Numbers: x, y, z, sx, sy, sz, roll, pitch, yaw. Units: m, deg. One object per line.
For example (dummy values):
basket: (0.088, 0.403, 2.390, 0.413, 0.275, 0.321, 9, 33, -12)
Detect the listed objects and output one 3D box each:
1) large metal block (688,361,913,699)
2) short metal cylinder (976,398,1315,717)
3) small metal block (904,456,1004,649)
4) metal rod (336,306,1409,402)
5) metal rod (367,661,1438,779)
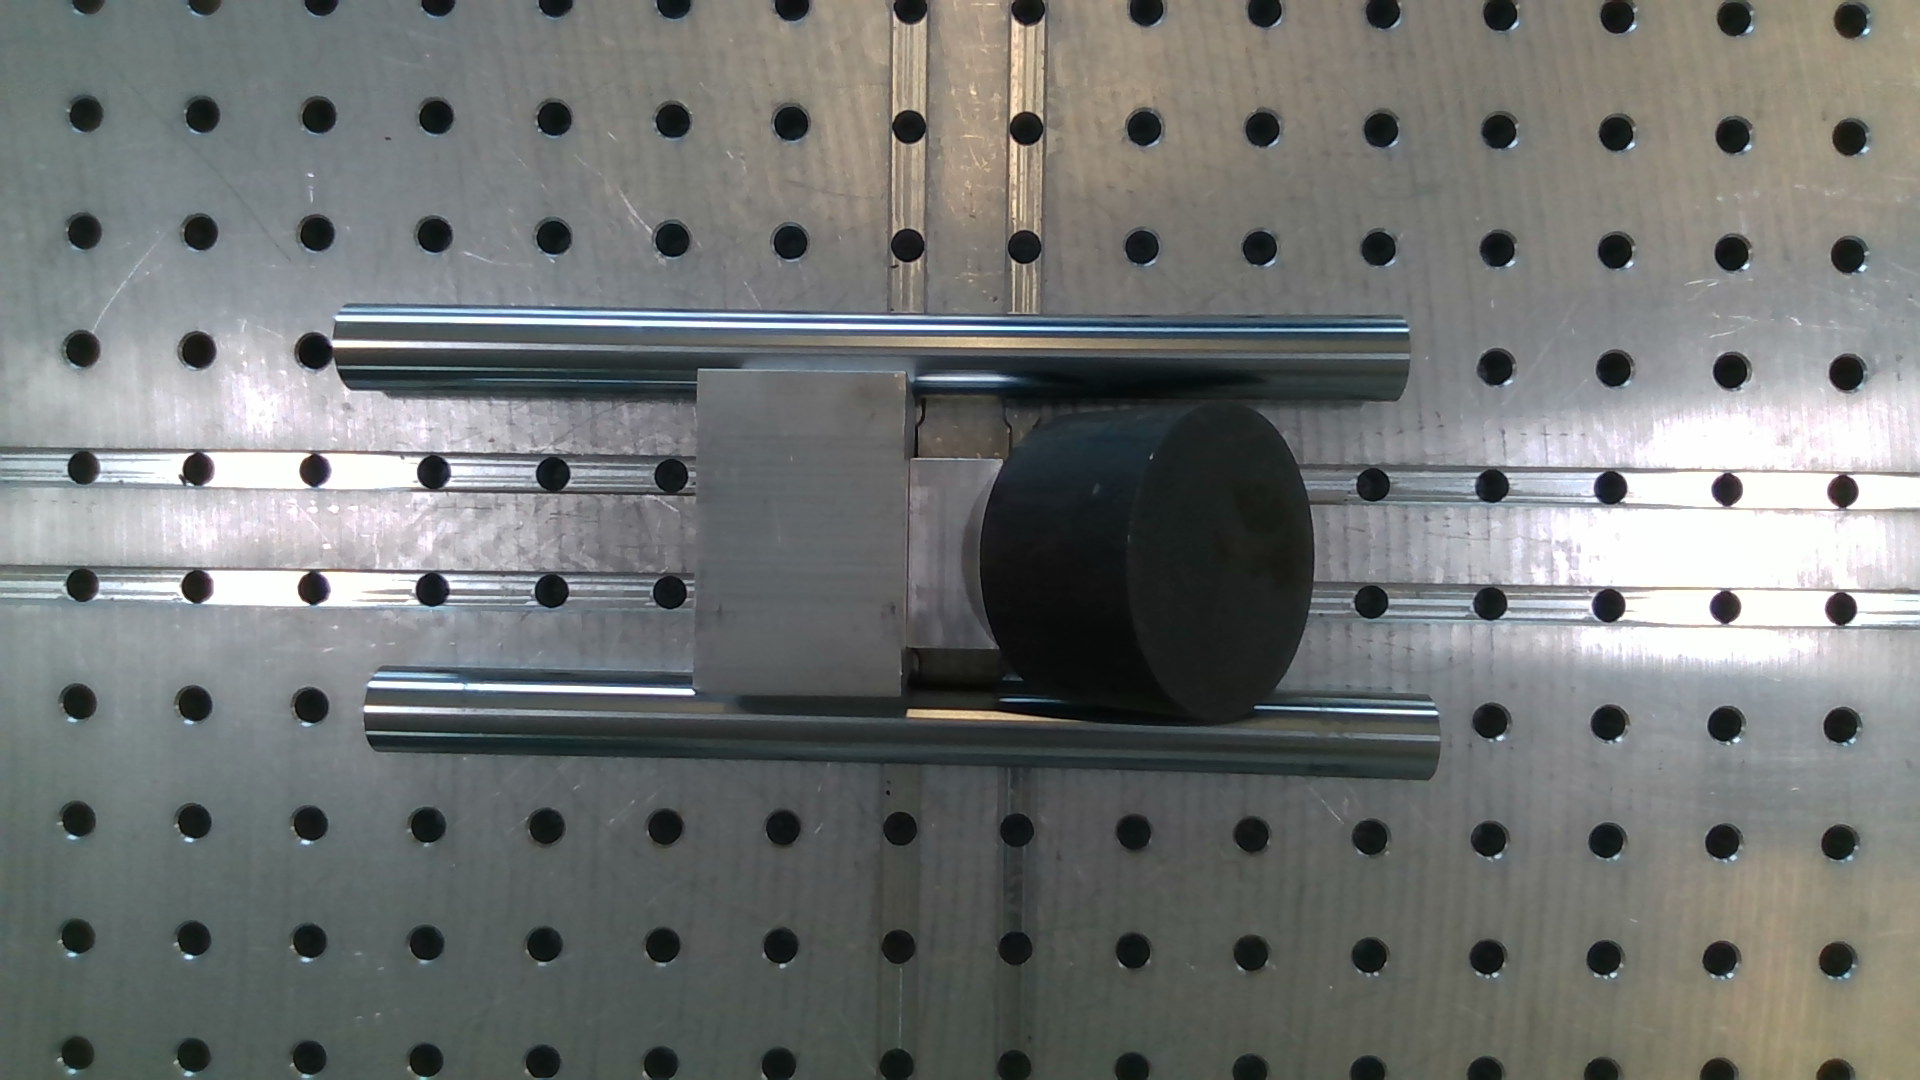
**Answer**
large metal block: (-0.039, -0.002, 0.368, 0.050, 0.080, 0.080, 1, 90, 0)
short metal cylinder: (0.050, 0.004, 0.364, 0.080, 0.050, 0.080, -1, 92, -44)
small metal block: (-0.001, 0.003, 0.385, 0.025, 0.050, 0.050, 1, 90, 0)
metal rod: (-0.024, -0.054, 0.397, 0.300, 0.025, 0.025, 1, 90, 0)
metal rod: (-0.016, 0.052, 0.398, 0.300, 0.025, 0.025, 2, 90, 0)
